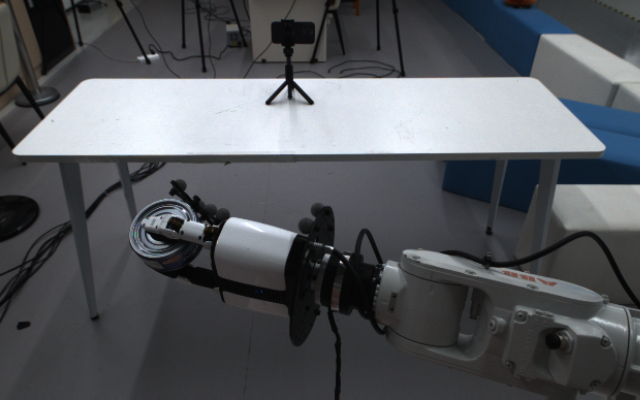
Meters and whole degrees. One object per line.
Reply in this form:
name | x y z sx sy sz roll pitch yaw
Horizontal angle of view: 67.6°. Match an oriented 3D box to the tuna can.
tuna can | -0.182 0.048 0.587 0.085 0.034 0.085 -4 58 6
